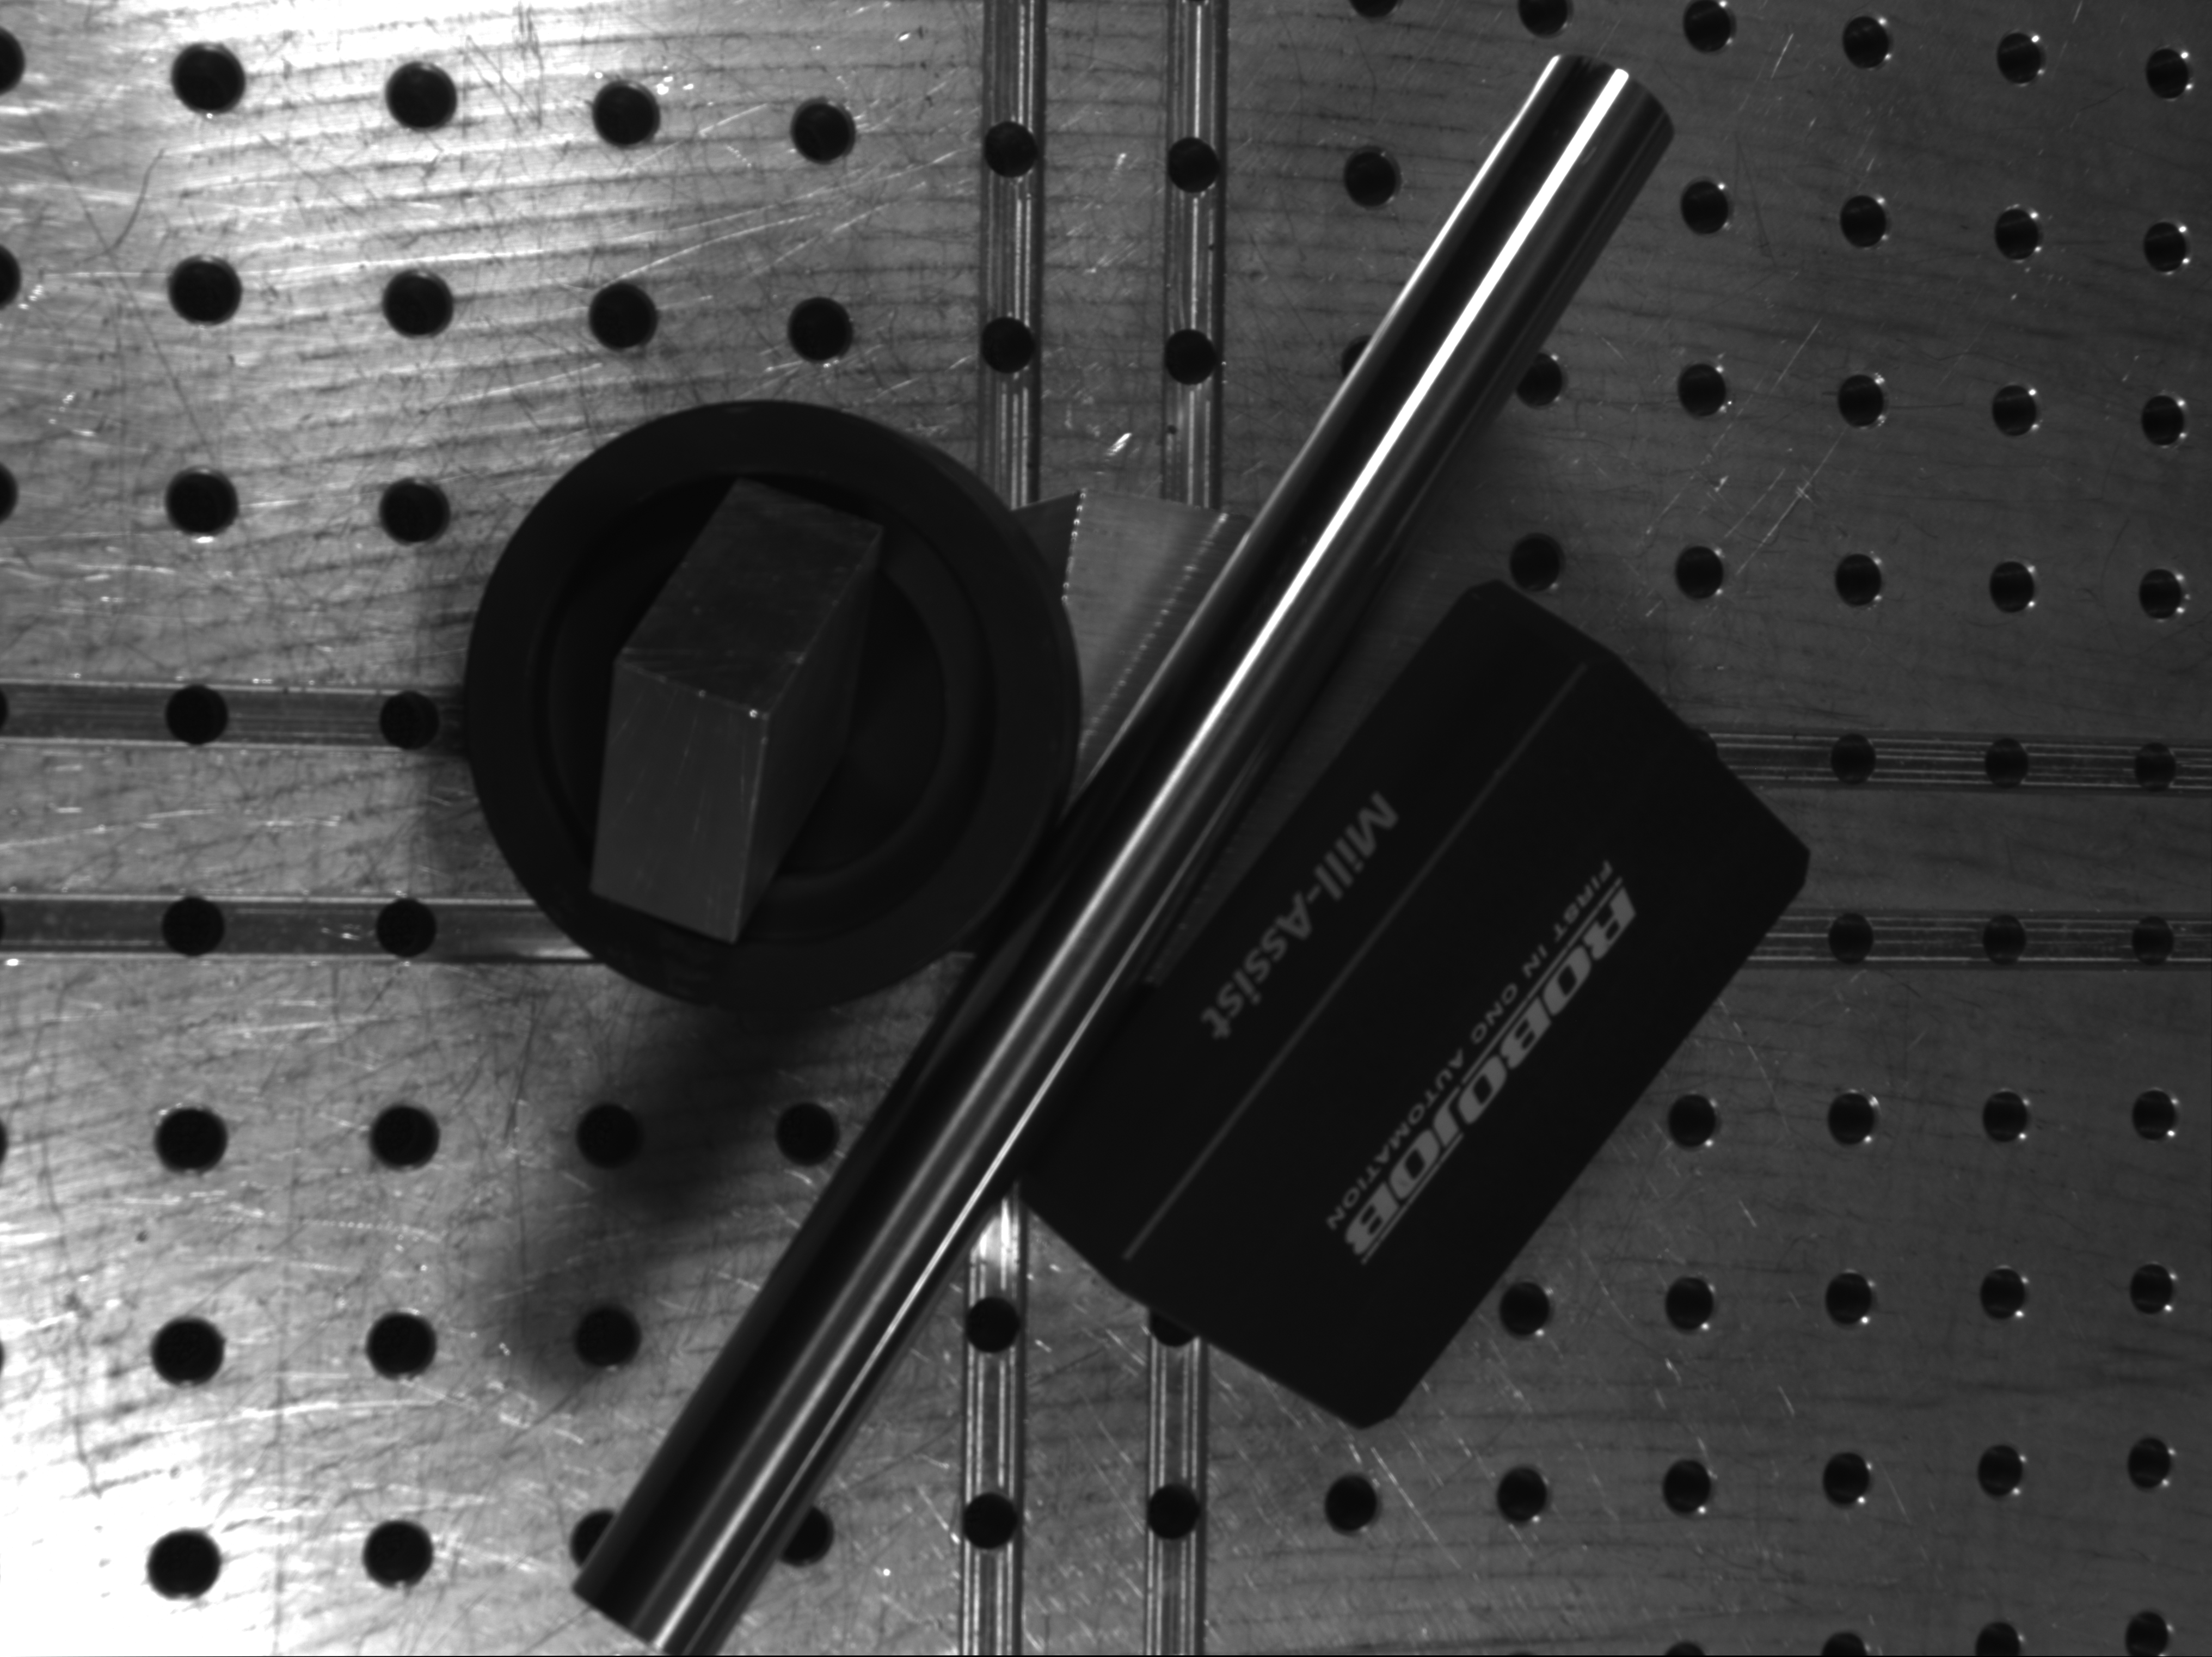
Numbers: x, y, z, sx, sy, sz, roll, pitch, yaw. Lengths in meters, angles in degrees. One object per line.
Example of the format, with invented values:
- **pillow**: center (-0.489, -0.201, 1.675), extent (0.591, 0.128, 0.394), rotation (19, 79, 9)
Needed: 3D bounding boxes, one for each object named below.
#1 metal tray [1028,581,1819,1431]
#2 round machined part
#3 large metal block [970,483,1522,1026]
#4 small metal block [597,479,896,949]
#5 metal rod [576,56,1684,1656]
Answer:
- **metal tray**: center (0.057, 0.033, 0.628), extent (0.130, 0.030, 0.090), rotation (-52, 138, 1)
- **round machined part**: center (-0.051, -0.020, 0.604), extent (0.098, 0.042, 0.098), rotation (0, 93, 5)
- **large metal block**: center (0.020, -0.011, 0.639), extent (0.080, 0.050, 0.080), rotation (10, 87, -20)
- **small metal block**: center (-0.057, -0.018, 0.582), extent (0.025, 0.050, 0.050), rotation (20, 44, 7)
- **metal rod**: center (0.008, 0.000, 0.595), extent (0.025, 0.025, 0.300), rotation (36, 78, -16)
